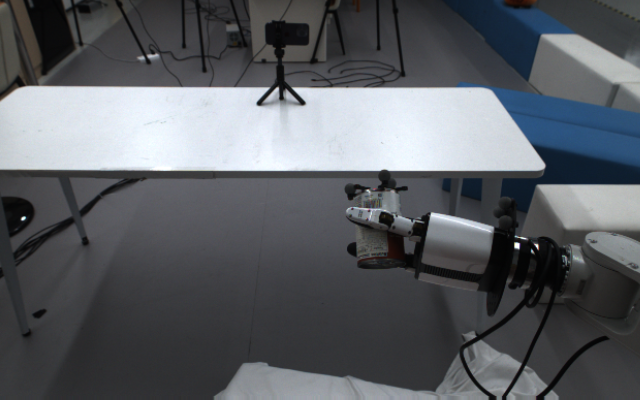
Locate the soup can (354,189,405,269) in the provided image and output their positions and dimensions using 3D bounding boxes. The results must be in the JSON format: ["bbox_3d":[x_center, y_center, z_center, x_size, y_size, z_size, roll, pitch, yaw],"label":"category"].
[{"bbox_3d":[0.086,0.041,0.678,0.067,0.067,0.101,-1,71,-5],"label":"soup can"}]
